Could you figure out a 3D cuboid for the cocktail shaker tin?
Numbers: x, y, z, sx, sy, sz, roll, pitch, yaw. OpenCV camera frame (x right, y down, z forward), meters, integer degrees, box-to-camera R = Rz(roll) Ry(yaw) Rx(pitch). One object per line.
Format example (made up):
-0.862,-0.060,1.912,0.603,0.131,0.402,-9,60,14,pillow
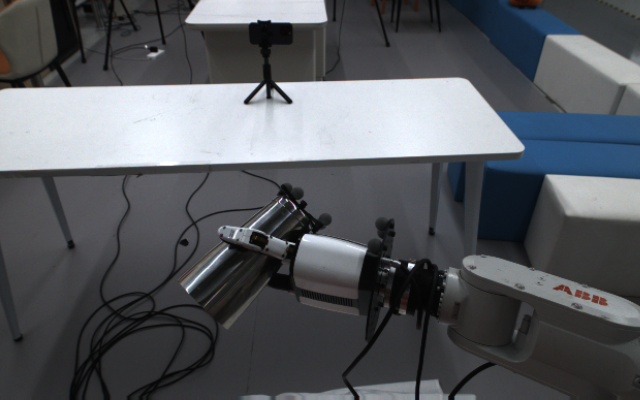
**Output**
-0.092,0.071,0.638,0.170,0.093,0.093,-43,50,-14,cocktail shaker tin
